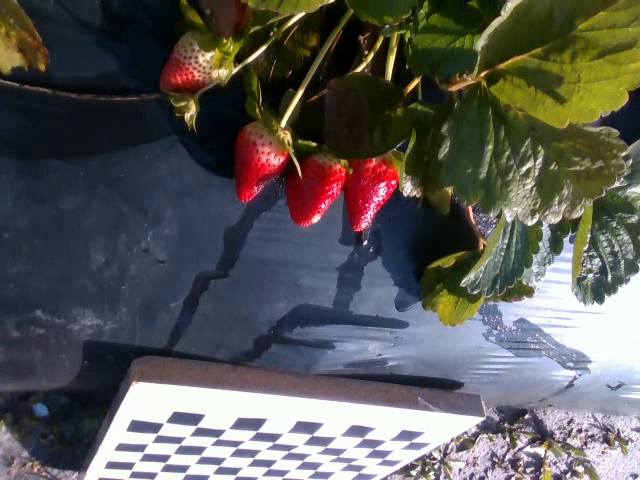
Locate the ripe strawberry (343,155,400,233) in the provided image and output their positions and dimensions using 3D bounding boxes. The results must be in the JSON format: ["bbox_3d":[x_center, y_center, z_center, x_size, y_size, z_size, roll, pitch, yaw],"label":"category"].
[{"bbox_3d":[0.023,-0.021,0.308,0.035,0.041,0.034,11,-2,-17],"label":"ripe strawberry"}]

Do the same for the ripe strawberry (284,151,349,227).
[{"bbox_3d":[-0.003,-0.024,0.296,0.031,0.039,0.037,22,-20,-27],"label":"ripe strawberry"}]

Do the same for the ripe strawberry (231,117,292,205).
[{"bbox_3d":[-0.030,-0.035,0.291,0.032,0.045,0.023,14,33,-20],"label":"ripe strawberry"}]
